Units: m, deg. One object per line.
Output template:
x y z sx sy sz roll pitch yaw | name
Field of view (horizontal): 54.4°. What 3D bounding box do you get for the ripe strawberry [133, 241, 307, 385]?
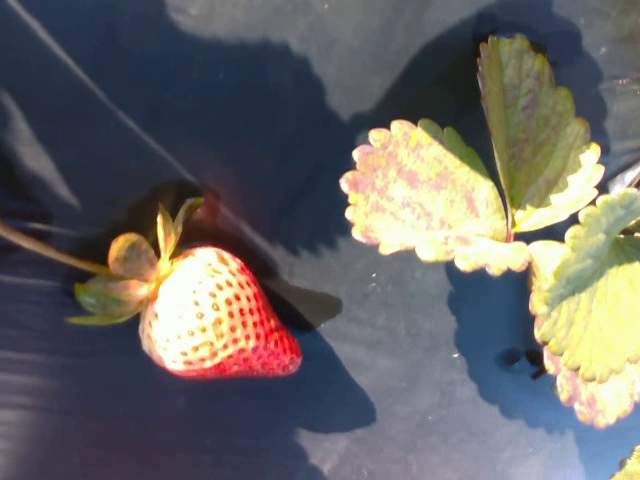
-0.025 0.027 0.175 0.063 0.044 0.044 26 -21 -20 | ripe strawberry
